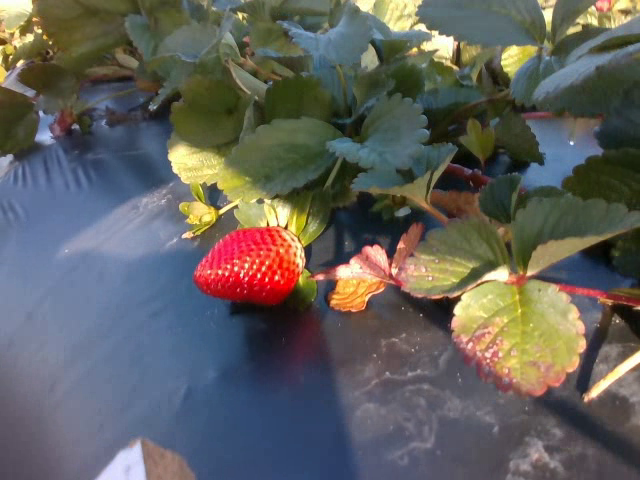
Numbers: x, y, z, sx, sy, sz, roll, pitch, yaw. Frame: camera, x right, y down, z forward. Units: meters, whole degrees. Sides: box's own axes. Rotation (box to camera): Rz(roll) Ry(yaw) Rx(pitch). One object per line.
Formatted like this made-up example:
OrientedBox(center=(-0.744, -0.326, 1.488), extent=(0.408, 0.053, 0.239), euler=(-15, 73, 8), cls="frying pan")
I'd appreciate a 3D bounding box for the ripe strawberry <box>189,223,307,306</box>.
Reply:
OrientedBox(center=(-0.031, 0.010, 0.240), extent=(0.040, 0.041, 0.056), euler=(-24, -4, 38), cls="ripe strawberry")
